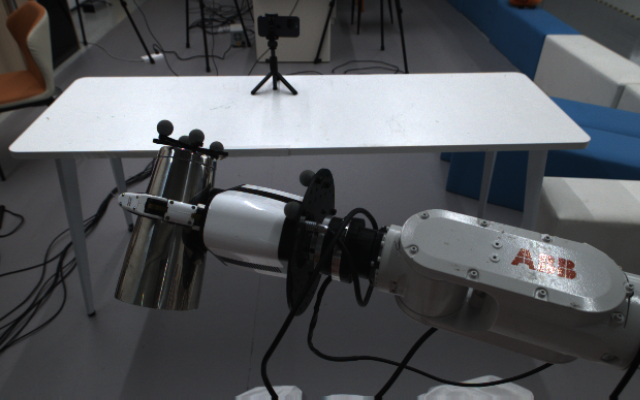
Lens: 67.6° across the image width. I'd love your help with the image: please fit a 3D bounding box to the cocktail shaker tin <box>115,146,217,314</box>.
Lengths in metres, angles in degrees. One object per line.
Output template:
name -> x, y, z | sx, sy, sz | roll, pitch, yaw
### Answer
cocktail shaker tin -> -0.165, 0.032, 0.549 | 0.093, 0.170, 0.093 | 11, -5, 1
